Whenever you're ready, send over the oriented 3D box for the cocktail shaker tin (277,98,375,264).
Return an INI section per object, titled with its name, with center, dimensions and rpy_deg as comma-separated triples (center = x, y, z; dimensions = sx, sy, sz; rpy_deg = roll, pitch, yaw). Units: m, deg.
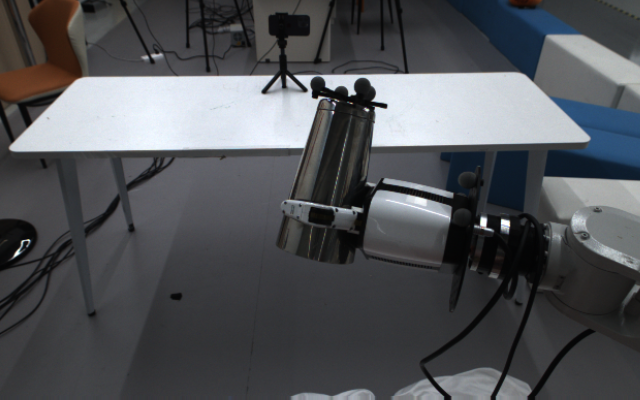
[cocktail shaker tin]
center = 0.013, -0.022, 0.551
dimensions = 0.093, 0.170, 0.093
rpy_deg = 13, 4, -1
